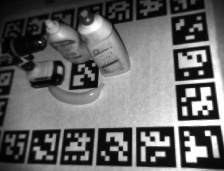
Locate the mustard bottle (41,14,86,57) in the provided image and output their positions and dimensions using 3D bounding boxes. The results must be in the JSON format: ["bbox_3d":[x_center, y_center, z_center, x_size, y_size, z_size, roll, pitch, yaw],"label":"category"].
[{"bbox_3d":[-0.156,-0.152,0.658,0.095,0.193,0.058,-5,71,16],"label":"mustard bottle"}]

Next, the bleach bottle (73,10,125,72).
[{"bbox_3d":[-0.040,-0.114,0.587,0.102,0.253,0.067,-14,70,14],"label":"bleach bottle"}]

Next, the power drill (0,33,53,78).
[{"bbox_3d":[-0.259,-0.092,0.650,0.183,0.189,0.057,-8,64,13],"label":"power drill"}]

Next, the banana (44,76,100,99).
[{"bbox_3d":[-0.131,0.006,0.682,0.196,0.039,0.074,-2,76,19],"label":"banana"}]
